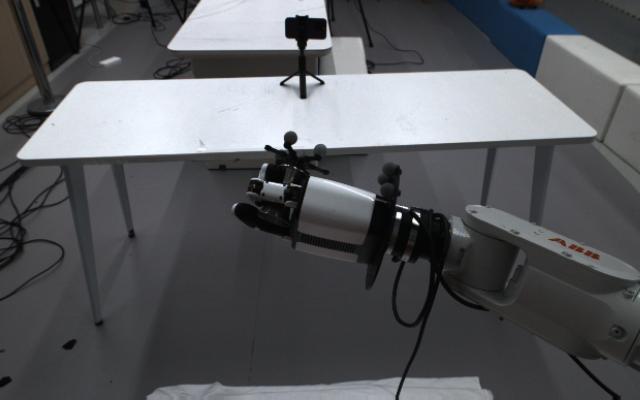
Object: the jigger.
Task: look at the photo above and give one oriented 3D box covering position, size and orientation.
[{"bbox_3d":[-0.045,-0.007,0.606,0.043,0.043,0.071,15,70,18],"label":"jigger"}]
